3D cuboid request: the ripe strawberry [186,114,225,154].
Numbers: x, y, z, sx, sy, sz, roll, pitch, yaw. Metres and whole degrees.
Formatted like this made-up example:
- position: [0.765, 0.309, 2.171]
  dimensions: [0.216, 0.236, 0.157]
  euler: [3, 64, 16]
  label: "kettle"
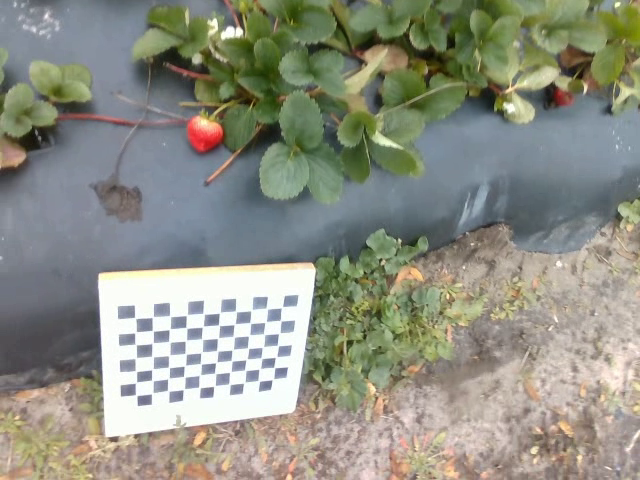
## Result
- position: [-0.185, -0.167, 0.949]
  dimensions: [0.061, 0.065, 0.050]
  euler: [7, 20, -26]
  label: "ripe strawberry"
